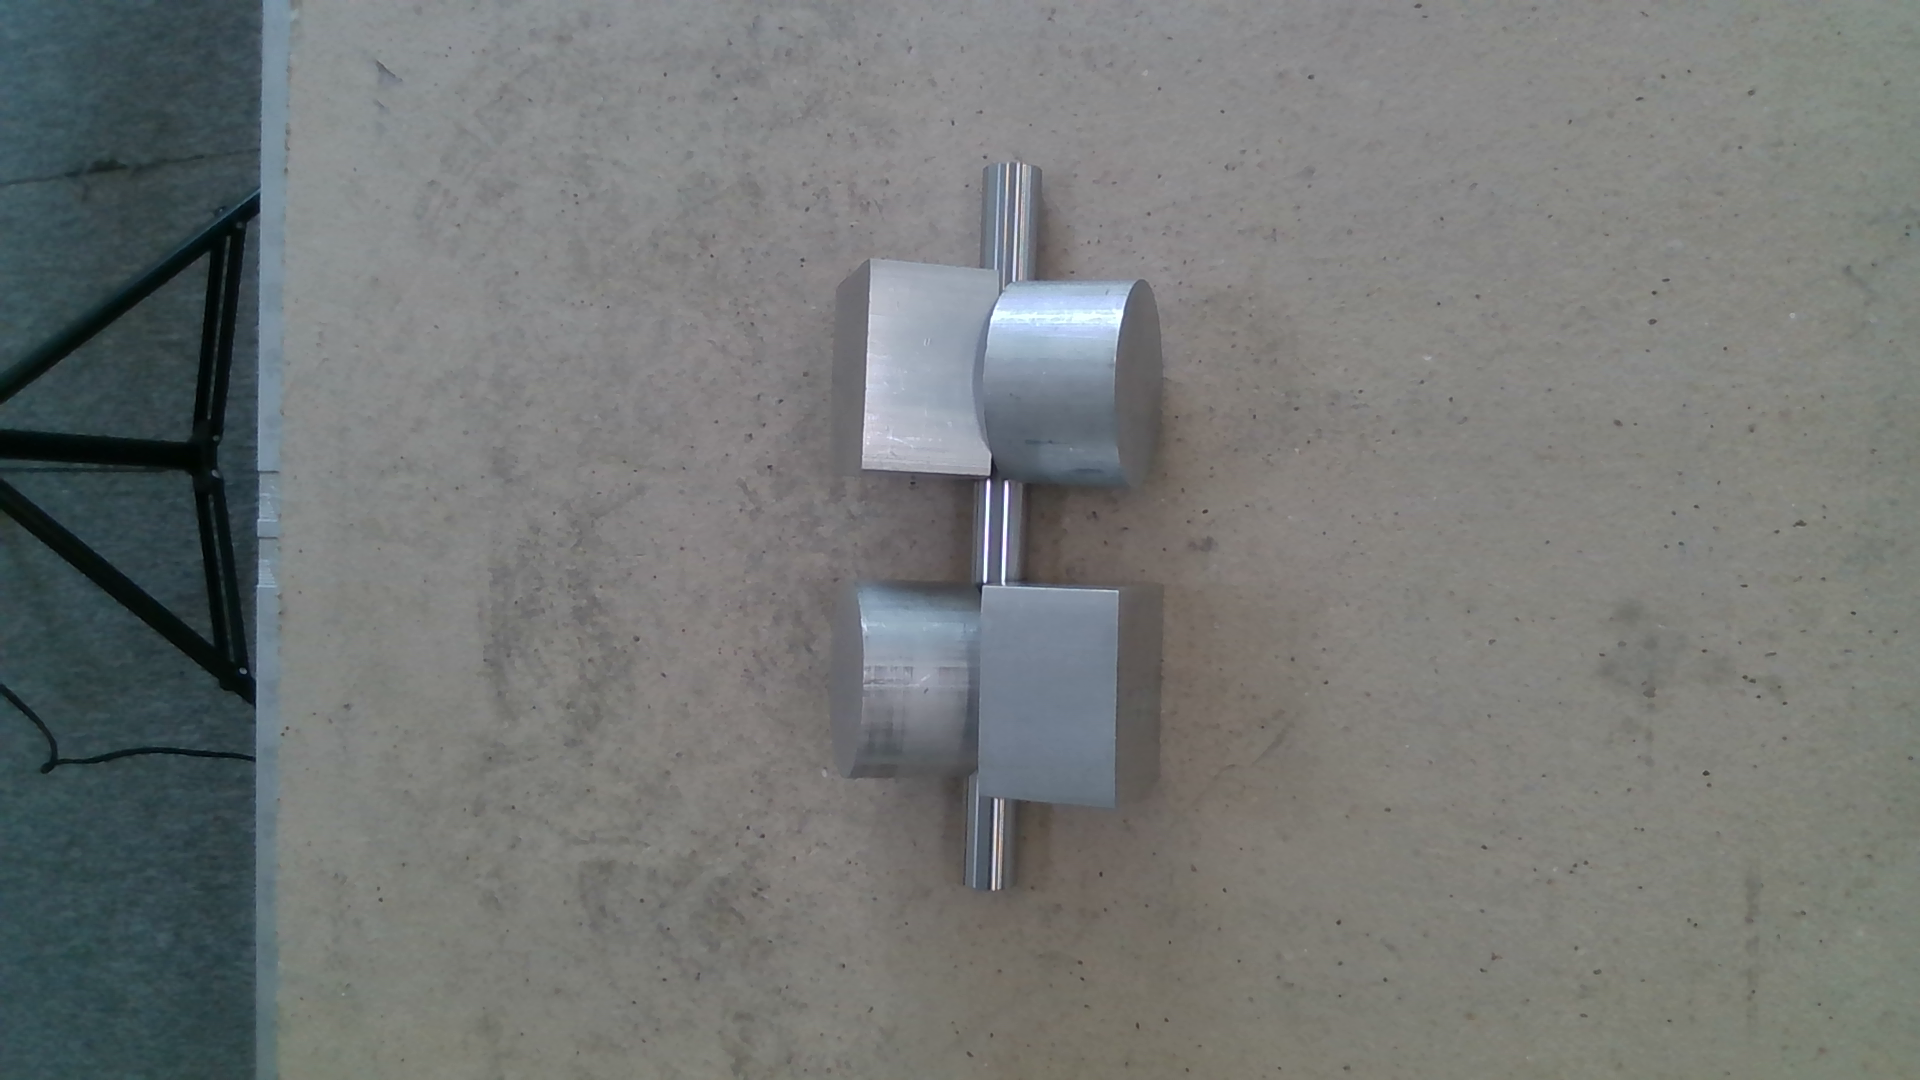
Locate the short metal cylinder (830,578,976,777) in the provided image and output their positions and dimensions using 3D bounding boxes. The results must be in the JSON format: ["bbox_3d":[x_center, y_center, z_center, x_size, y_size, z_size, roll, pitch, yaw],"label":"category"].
[{"bbox_3d":[-0.023,0.055,0.559,0.050,0.080,0.080,1,91,-15],"label":"short metal cylinder"}]

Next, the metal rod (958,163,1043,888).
[{"bbox_3d":[0.017,-0.005,0.582,0.025,0.025,0.300,3,91,20],"label":"metal rod"}]

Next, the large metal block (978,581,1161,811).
[{"bbox_3d":[0.045,0.057,0.540,0.050,0.080,0.080,2,91,20],"label":"large metal block"}]

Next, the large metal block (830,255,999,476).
[{"bbox_3d":[-0.021,-0.066,0.557,0.050,0.080,0.080,2,92,-14],"label":"large metal block"}]

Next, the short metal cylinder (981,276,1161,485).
[{"bbox_3d":[0.045,-0.063,0.539,0.050,0.080,0.080,4,92,20],"label":"short metal cylinder"}]
